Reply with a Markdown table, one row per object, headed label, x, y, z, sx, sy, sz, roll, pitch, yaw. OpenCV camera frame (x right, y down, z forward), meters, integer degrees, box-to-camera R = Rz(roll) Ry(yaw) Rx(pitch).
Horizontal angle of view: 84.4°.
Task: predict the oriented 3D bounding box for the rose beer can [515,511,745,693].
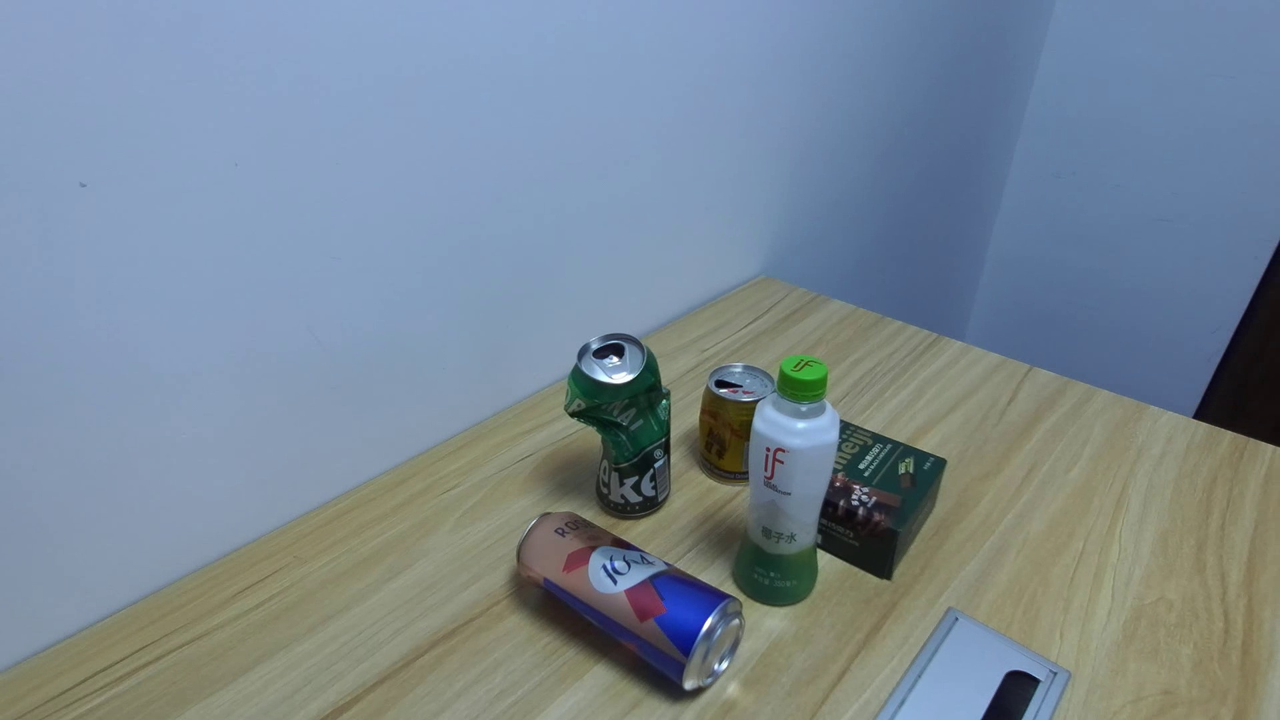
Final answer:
| label | x | y | z | sx | sy | sz | roll | pitch | yaw |
| --- | --- | --- | --- | --- | --- | --- | --- | --- | --- |
| rose beer can | -0.010 | 0.160 | 0.494 | 0.167 | 0.069 | 0.070 | 20 | 56 | 33 |

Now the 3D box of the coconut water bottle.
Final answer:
| label | x | y | z | sx | sy | sz | roll | pitch | yaw |
| --- | --- | --- | --- | --- | --- | --- | --- | --- | --- |
| coconut water bottle | 0.104 | 0.085 | 0.494 | 0.063 | 0.189 | 0.063 | 0 | 31 | 0 |

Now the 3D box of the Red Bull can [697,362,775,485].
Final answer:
| label | x | y | z | sx | sy | sz | roll | pitch | yaw |
| --- | --- | --- | --- | --- | --- | --- | --- | --- | --- |
| Red Bull can | 0.089 | 0.059 | 0.651 | 0.069 | 0.092 | 0.069 | 2 | 33 | -1 |

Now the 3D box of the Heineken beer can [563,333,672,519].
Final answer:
| label | x | y | z | sx | sy | sz | roll | pitch | yaw |
| --- | --- | --- | --- | --- | --- | --- | --- | --- | --- |
| Heineken beer can | -0.011 | 0.055 | 0.581 | 0.067 | 0.159 | 0.079 | 6 | 37 | 17 |

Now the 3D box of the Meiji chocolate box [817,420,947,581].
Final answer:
| label | x | y | z | sx | sy | sz | roll | pitch | yaw |
| --- | --- | --- | --- | --- | --- | --- | --- | --- | --- |
| Meiji chocolate box | 0.180 | 0.109 | 0.589 | 0.108 | 0.056 | 0.110 | 22 | 36 | 30 |
